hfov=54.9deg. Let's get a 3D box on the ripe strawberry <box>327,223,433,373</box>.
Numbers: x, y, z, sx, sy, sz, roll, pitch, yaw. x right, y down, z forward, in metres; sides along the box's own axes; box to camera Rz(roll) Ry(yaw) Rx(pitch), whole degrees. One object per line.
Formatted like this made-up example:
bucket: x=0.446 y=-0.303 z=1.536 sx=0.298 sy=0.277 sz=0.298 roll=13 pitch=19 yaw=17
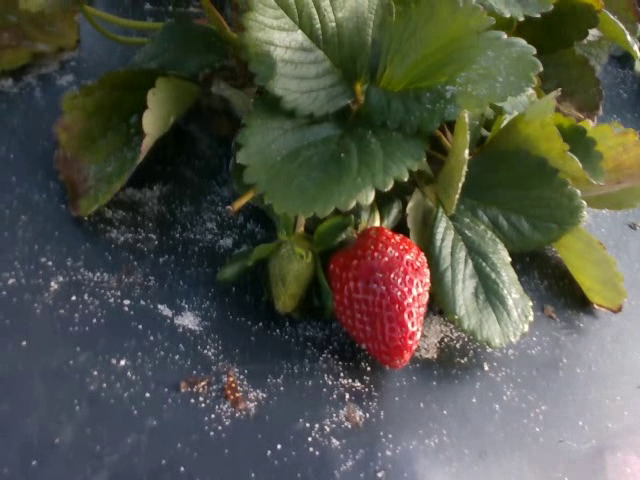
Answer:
ripe strawberry: x=0.015 y=0.014 z=0.132 sx=0.030 sy=0.036 sz=0.021 roll=-4 pitch=-31 yaw=-13
